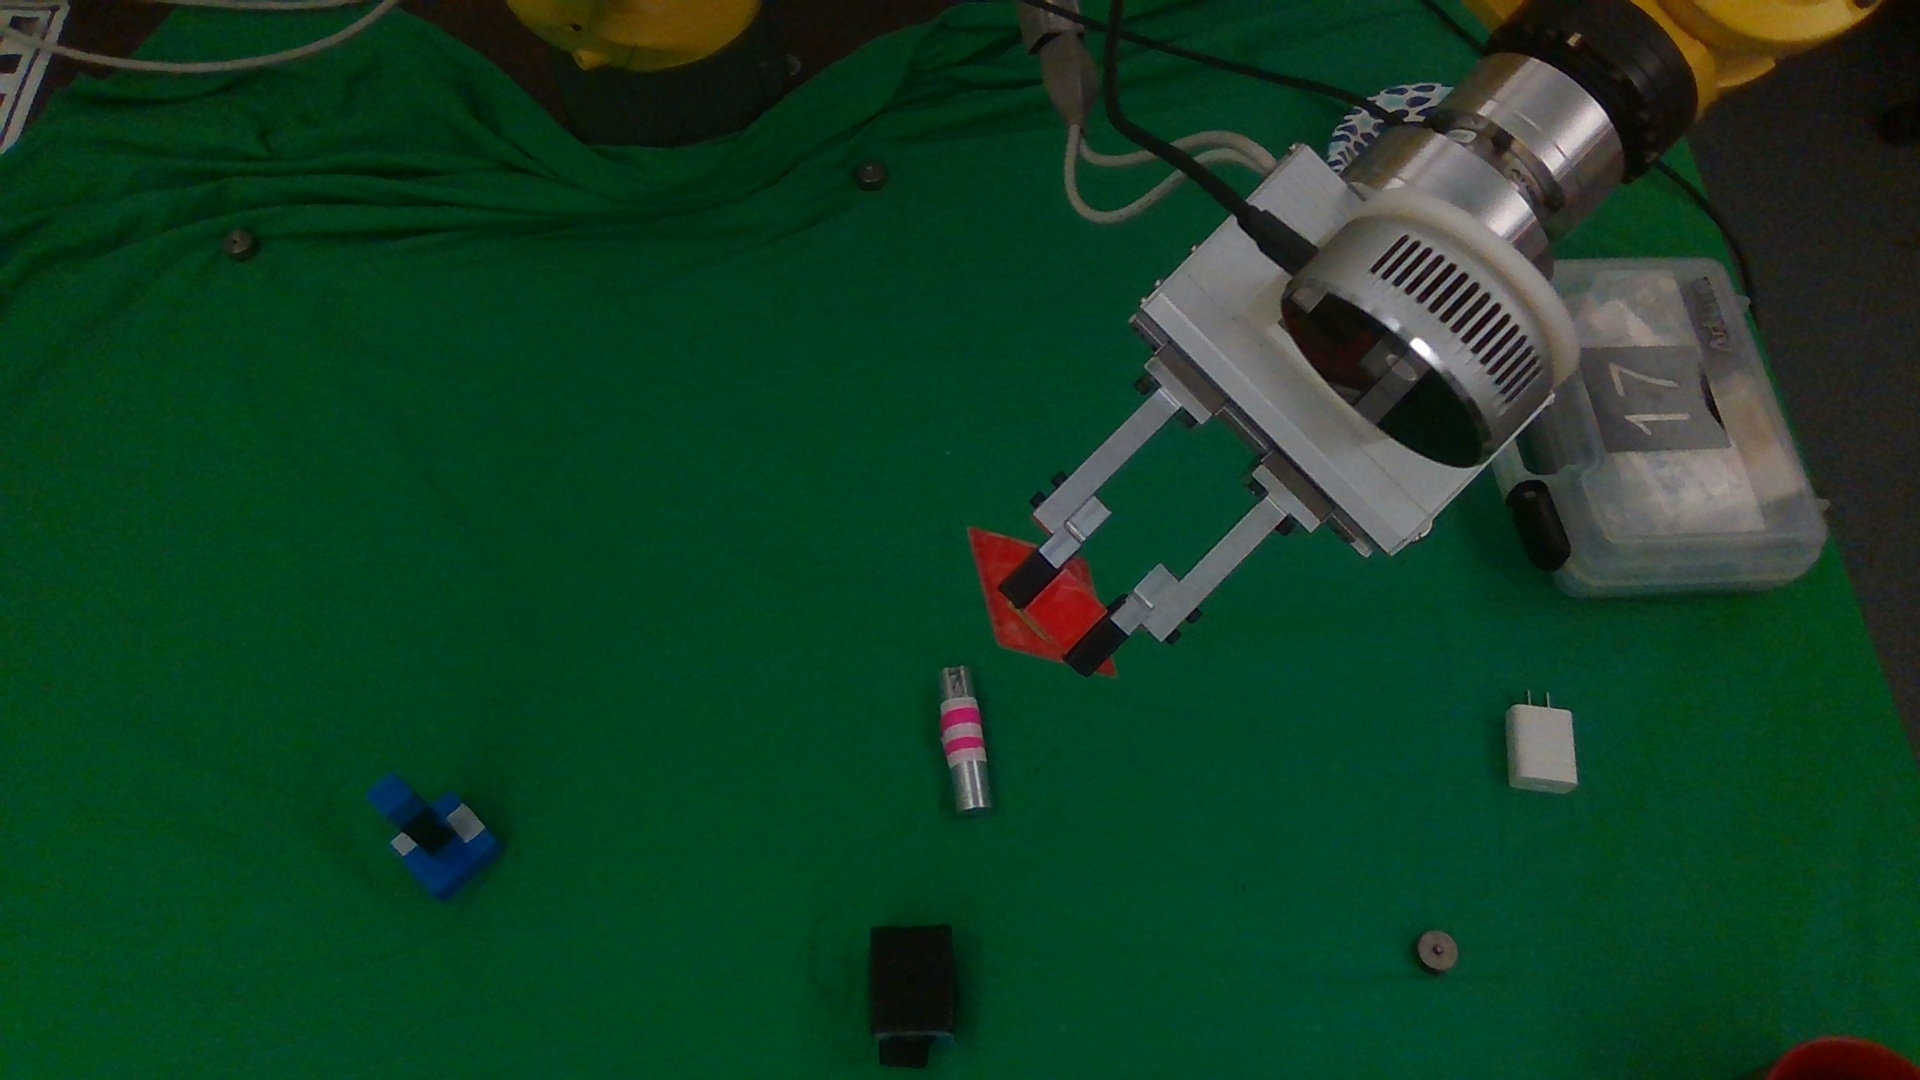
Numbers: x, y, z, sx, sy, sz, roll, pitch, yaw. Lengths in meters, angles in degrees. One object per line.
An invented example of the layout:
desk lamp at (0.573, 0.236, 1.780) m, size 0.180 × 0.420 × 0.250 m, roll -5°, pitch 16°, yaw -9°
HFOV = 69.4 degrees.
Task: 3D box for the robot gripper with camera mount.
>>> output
robot gripper with camera mount at (0.092, -0.015, 0.408) m, size 0.158 × 0.193 × 0.119 m, roll -45°, pitch 98°, yaw 0°

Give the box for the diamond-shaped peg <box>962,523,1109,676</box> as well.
diamond-shaped peg at (0.031, 0.025, 0.523) m, size 0.074 × 0.122 × 0.045 m, roll 16°, pitch 91°, yaw 0°
